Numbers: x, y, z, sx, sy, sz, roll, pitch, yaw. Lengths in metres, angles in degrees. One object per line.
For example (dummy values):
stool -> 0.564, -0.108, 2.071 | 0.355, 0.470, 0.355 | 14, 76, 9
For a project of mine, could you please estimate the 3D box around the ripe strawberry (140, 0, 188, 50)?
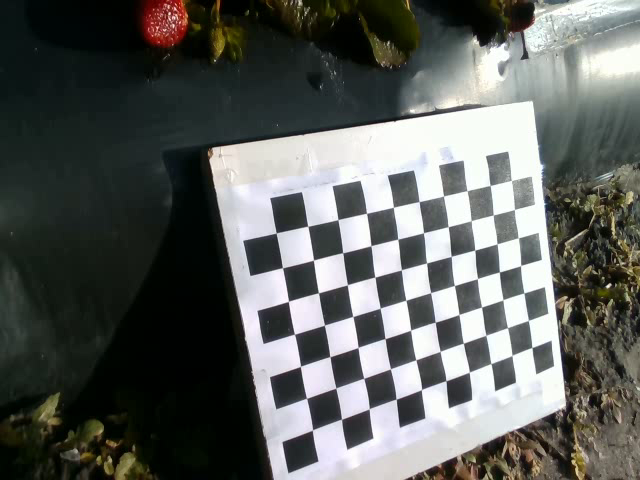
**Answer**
ripe strawberry -> -0.104, -0.147, 0.433 | 0.043, 0.053, 0.038 | 37, -57, -24
